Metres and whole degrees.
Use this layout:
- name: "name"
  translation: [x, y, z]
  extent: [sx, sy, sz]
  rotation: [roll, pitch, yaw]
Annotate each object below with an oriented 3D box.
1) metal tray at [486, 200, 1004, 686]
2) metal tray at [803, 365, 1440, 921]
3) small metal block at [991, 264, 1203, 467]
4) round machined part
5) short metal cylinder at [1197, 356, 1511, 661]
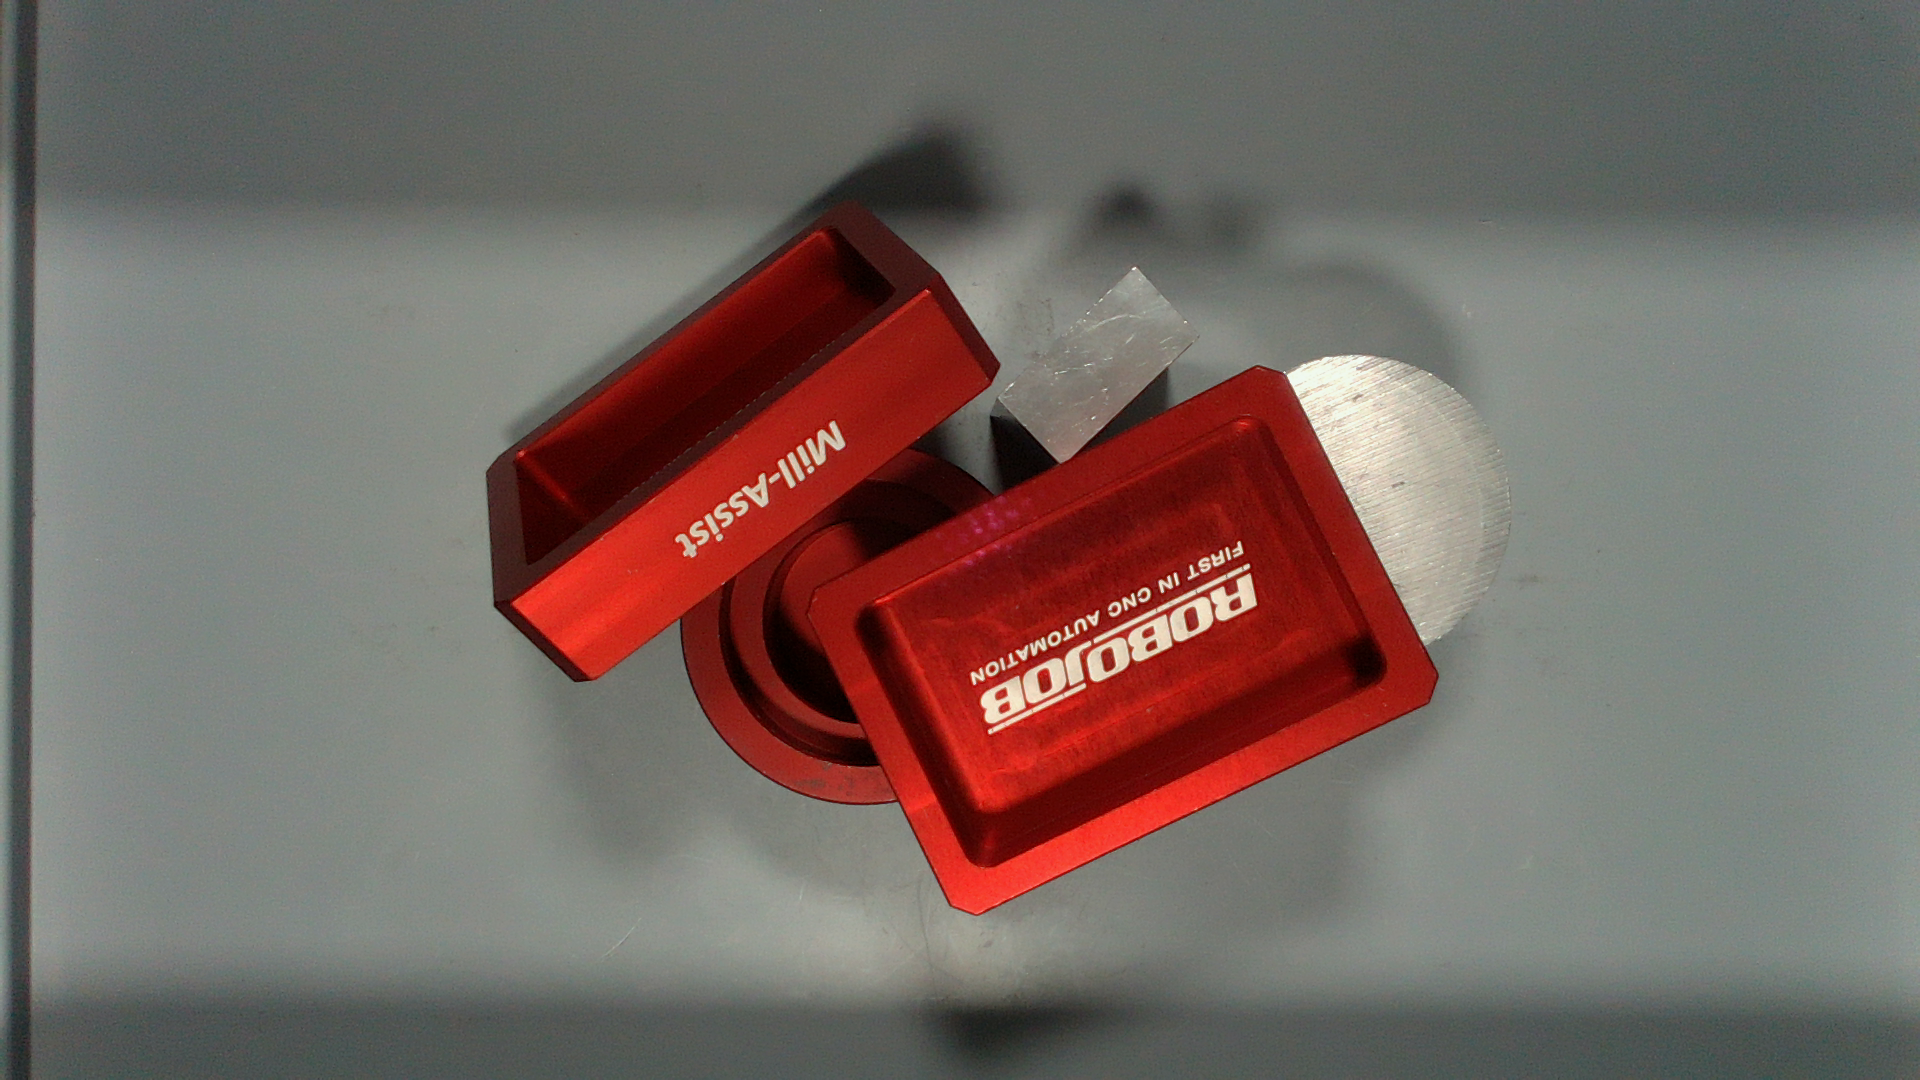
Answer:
- name: "metal tray"
  translation: [-0.061, -0.030, 0.360]
  extent: [0.130, 0.090, 0.030]
  rotation: [-37, 122, 0]
- name: "metal tray"
  translation: [0.039, 0.025, 0.344]
  extent: [0.130, 0.030, 0.090]
  rotation: [-27, 89, 4]
- name: "small metal block"
  translation: [0.036, -0.045, 0.381]
  extent: [0.050, 0.050, 0.025]
  rotation: [-43, 90, -1]
- name: "round machined part"
  translation: [-0.026, 0.023, 0.387]
  extent: [0.098, 0.042, 0.098]
  rotation: [0, 90, 0]
- name: "short metal cylinder"
  translation: [0.103, -0.008, 0.381]
  extent: [0.080, 0.050, 0.080]
  rotation: [0, 90, 0]
